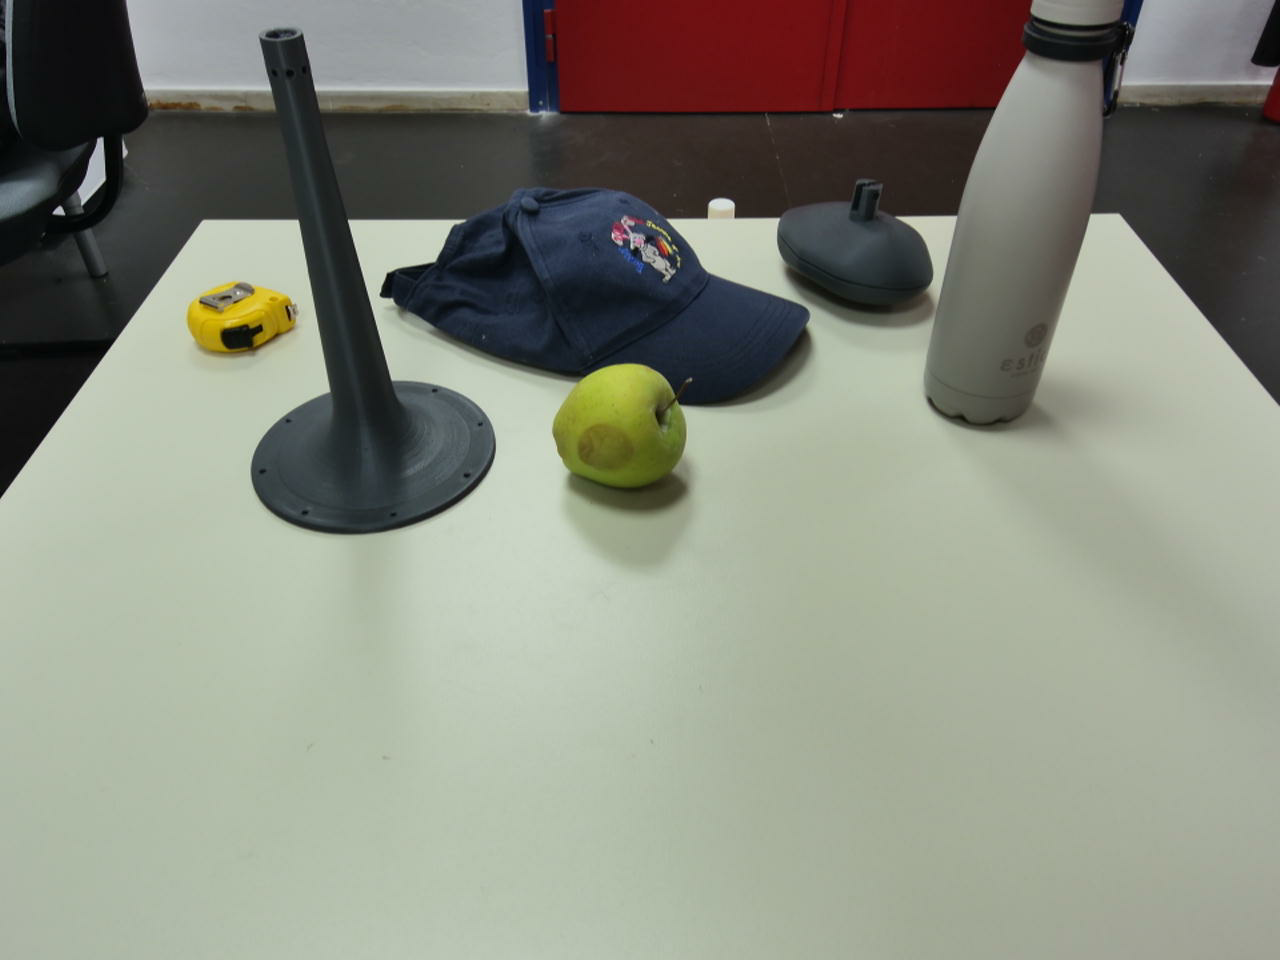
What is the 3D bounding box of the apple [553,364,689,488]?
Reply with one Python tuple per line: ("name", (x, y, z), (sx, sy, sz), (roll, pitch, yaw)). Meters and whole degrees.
("apple", (-0.011, -0.034, 0.598), (0.077, 0.075, 0.072), (32, 48, 33))
